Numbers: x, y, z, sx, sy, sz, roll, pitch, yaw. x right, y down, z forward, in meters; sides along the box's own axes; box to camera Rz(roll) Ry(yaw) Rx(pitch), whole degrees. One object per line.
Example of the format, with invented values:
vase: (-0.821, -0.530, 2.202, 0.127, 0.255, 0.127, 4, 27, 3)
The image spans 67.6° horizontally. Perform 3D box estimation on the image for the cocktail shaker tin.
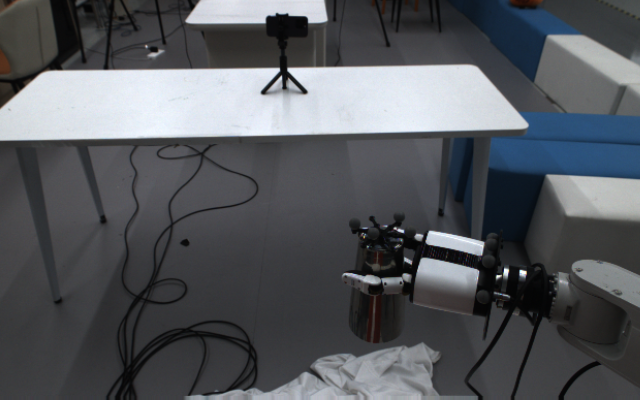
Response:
cocktail shaker tin: (0.095, 0.124, 0.751, 0.093, 0.170, 0.093, -1, 32, 1)
